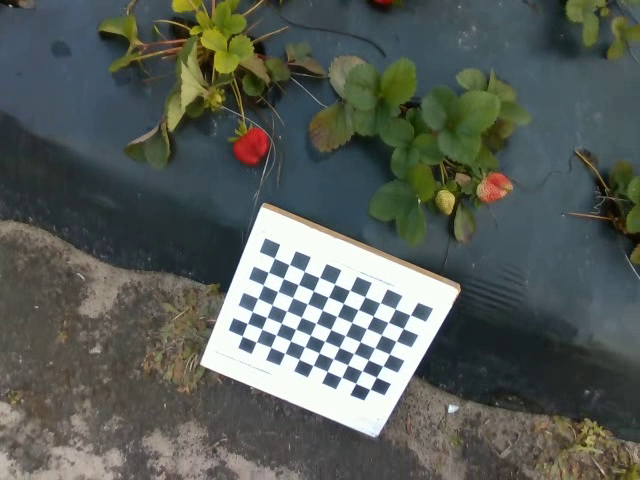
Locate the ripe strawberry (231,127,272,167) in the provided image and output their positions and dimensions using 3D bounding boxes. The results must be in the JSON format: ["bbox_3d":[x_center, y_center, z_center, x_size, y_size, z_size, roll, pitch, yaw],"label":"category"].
[{"bbox_3d":[-0.025,-0.033,0.241,0.017,0.015,0.013,-42,-34,21],"label":"ripe strawberry"}]
